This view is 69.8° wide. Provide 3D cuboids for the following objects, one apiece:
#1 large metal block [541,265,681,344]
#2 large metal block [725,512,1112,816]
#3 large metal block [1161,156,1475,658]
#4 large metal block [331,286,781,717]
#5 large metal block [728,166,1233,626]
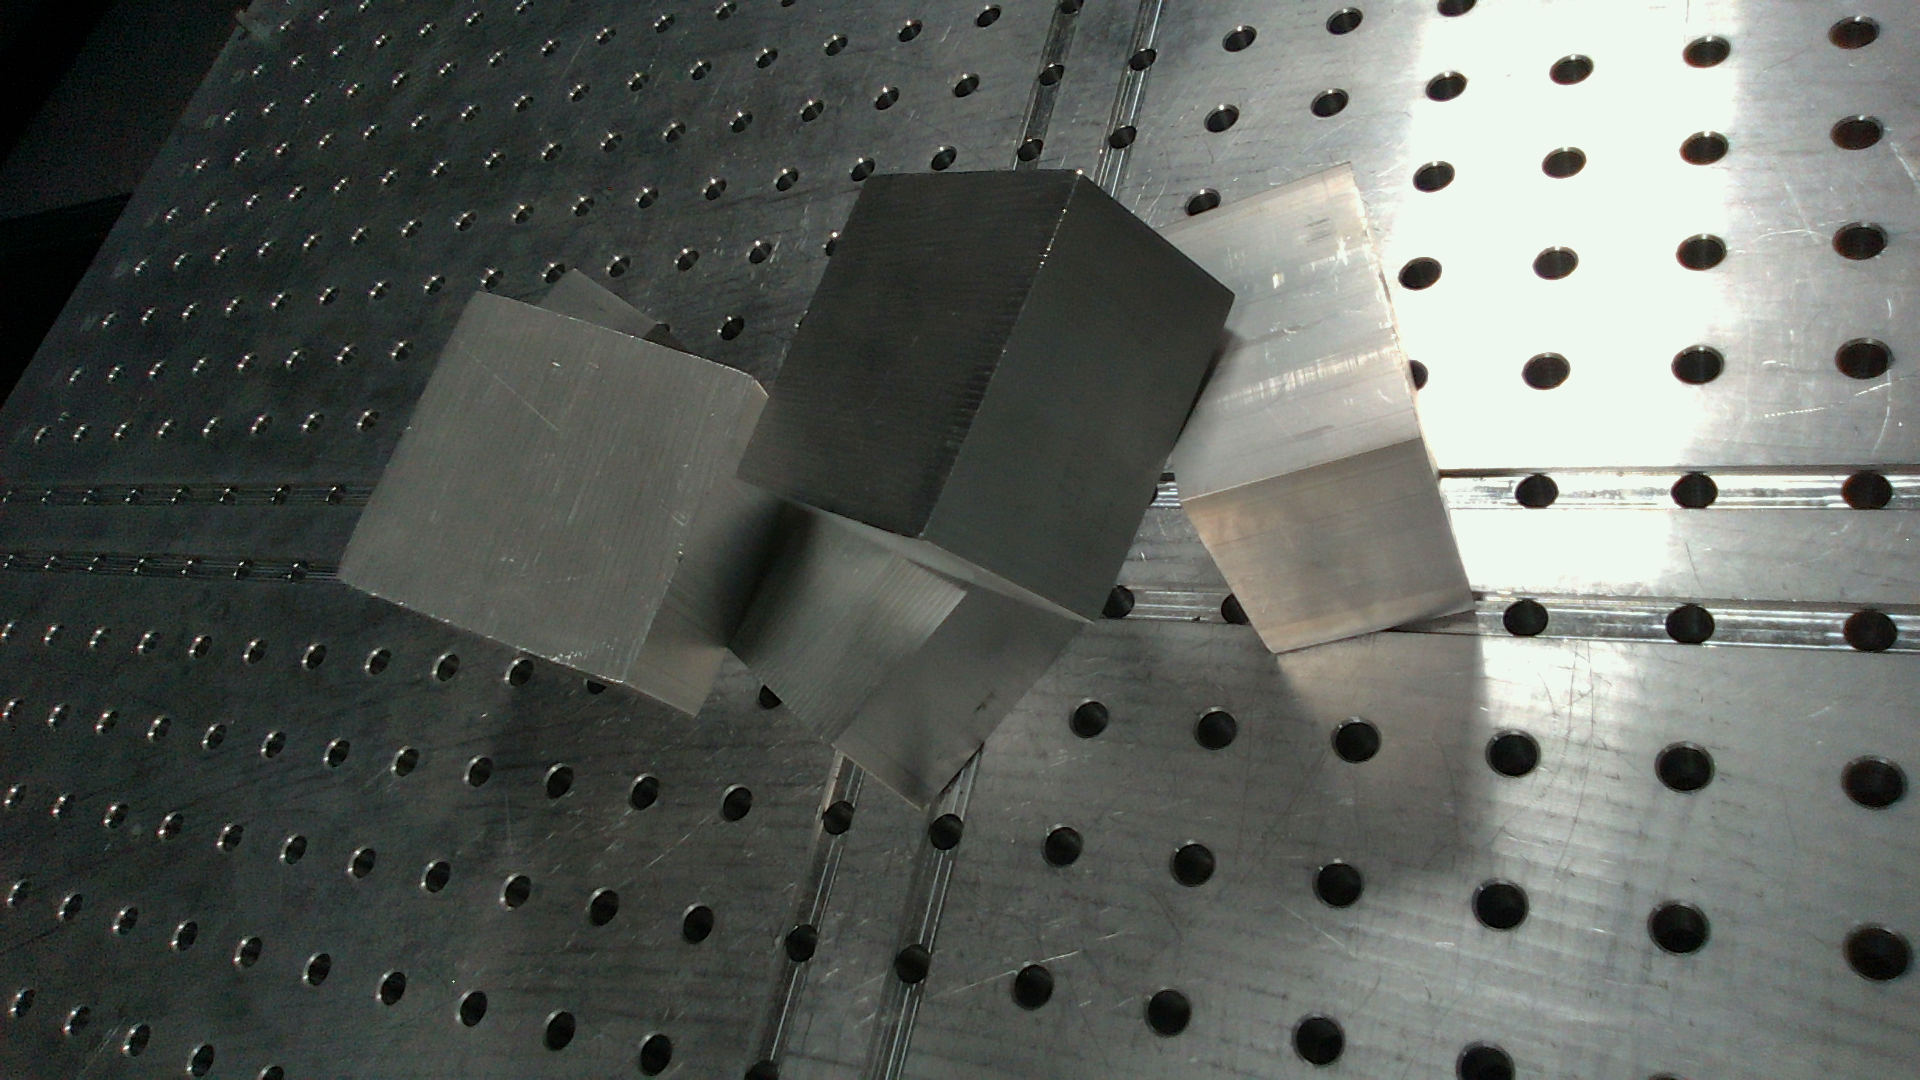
[{"bbox_3d":[-0.112,-0.025,0.437,0.050,0.080,0.080,34,81,39],"label":"large metal block"},{"bbox_3d":[-0.020,0.014,0.382,0.080,0.050,0.080,-49,51,-6],"label":"large metal block"},{"bbox_3d":[0.085,-0.029,0.333,0.050,0.080,0.080,-15,55,20],"label":"large metal block"},{"bbox_3d":[-0.096,-0.009,0.353,0.080,0.050,0.080,18,77,13],"label":"large metal block"},{"bbox_3d":[0.002,-0.035,0.311,0.080,0.050,0.080,18,84,52],"label":"large metal block"}]
